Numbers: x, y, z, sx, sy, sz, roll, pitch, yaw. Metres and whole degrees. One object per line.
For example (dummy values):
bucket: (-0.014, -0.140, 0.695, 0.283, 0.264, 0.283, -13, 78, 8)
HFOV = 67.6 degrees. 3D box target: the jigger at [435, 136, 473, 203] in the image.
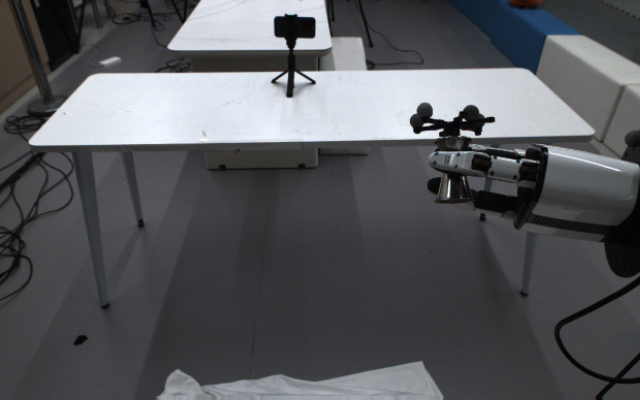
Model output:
jigger: (0.145, -0.032, 0.529, 0.043, 0.071, 0.043, 1, -5, 0)
